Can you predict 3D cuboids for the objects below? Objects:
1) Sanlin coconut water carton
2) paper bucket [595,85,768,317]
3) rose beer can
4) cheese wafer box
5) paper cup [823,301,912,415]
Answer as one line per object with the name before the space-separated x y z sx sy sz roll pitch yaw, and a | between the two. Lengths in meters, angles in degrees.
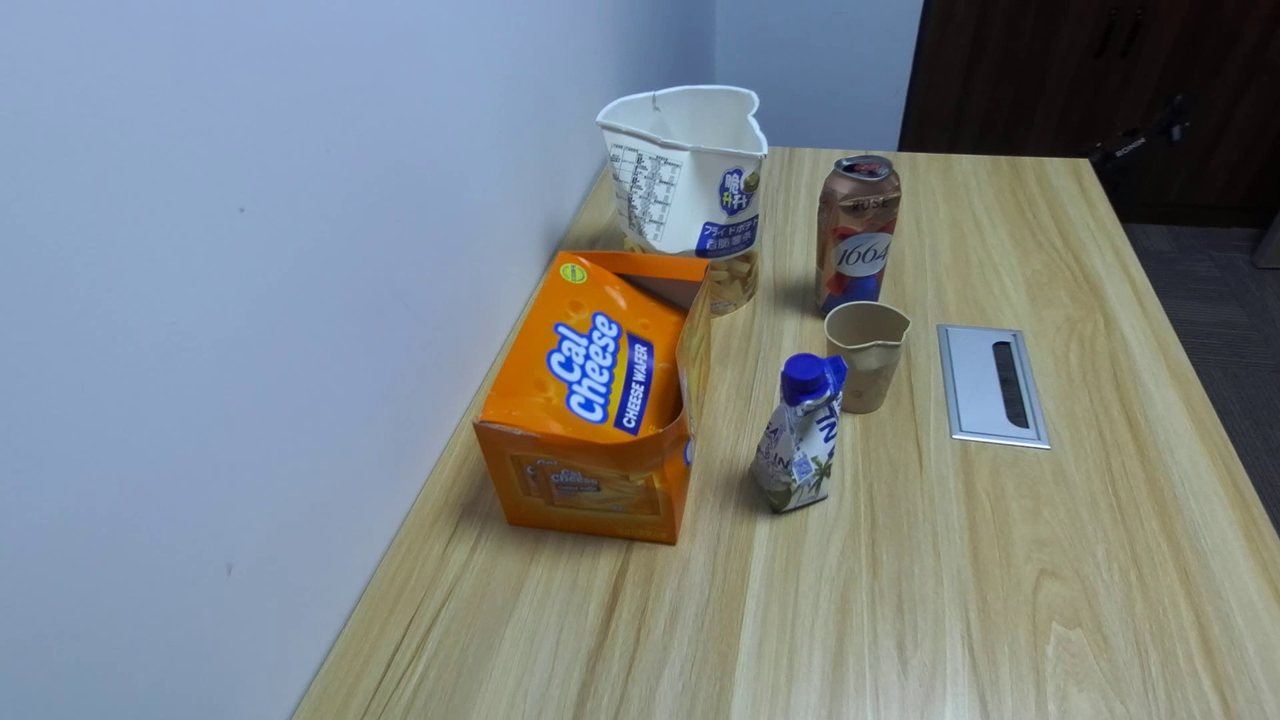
Sanlin coconut water carton | 0.130 0.055 0.542 0.069 0.145 0.056 -9 48 -17
paper bucket | 0.046 -0.163 0.753 0.162 0.202 0.169 -2 39 6
rose beer can | 0.218 -0.120 0.715 0.076 0.167 0.065 -4 38 3
cheese wafer box | -0.022 0.026 0.603 0.152 0.132 0.230 6 42 10
paper cup | 0.198 0.001 0.638 0.068 0.081 0.073 17 45 25
